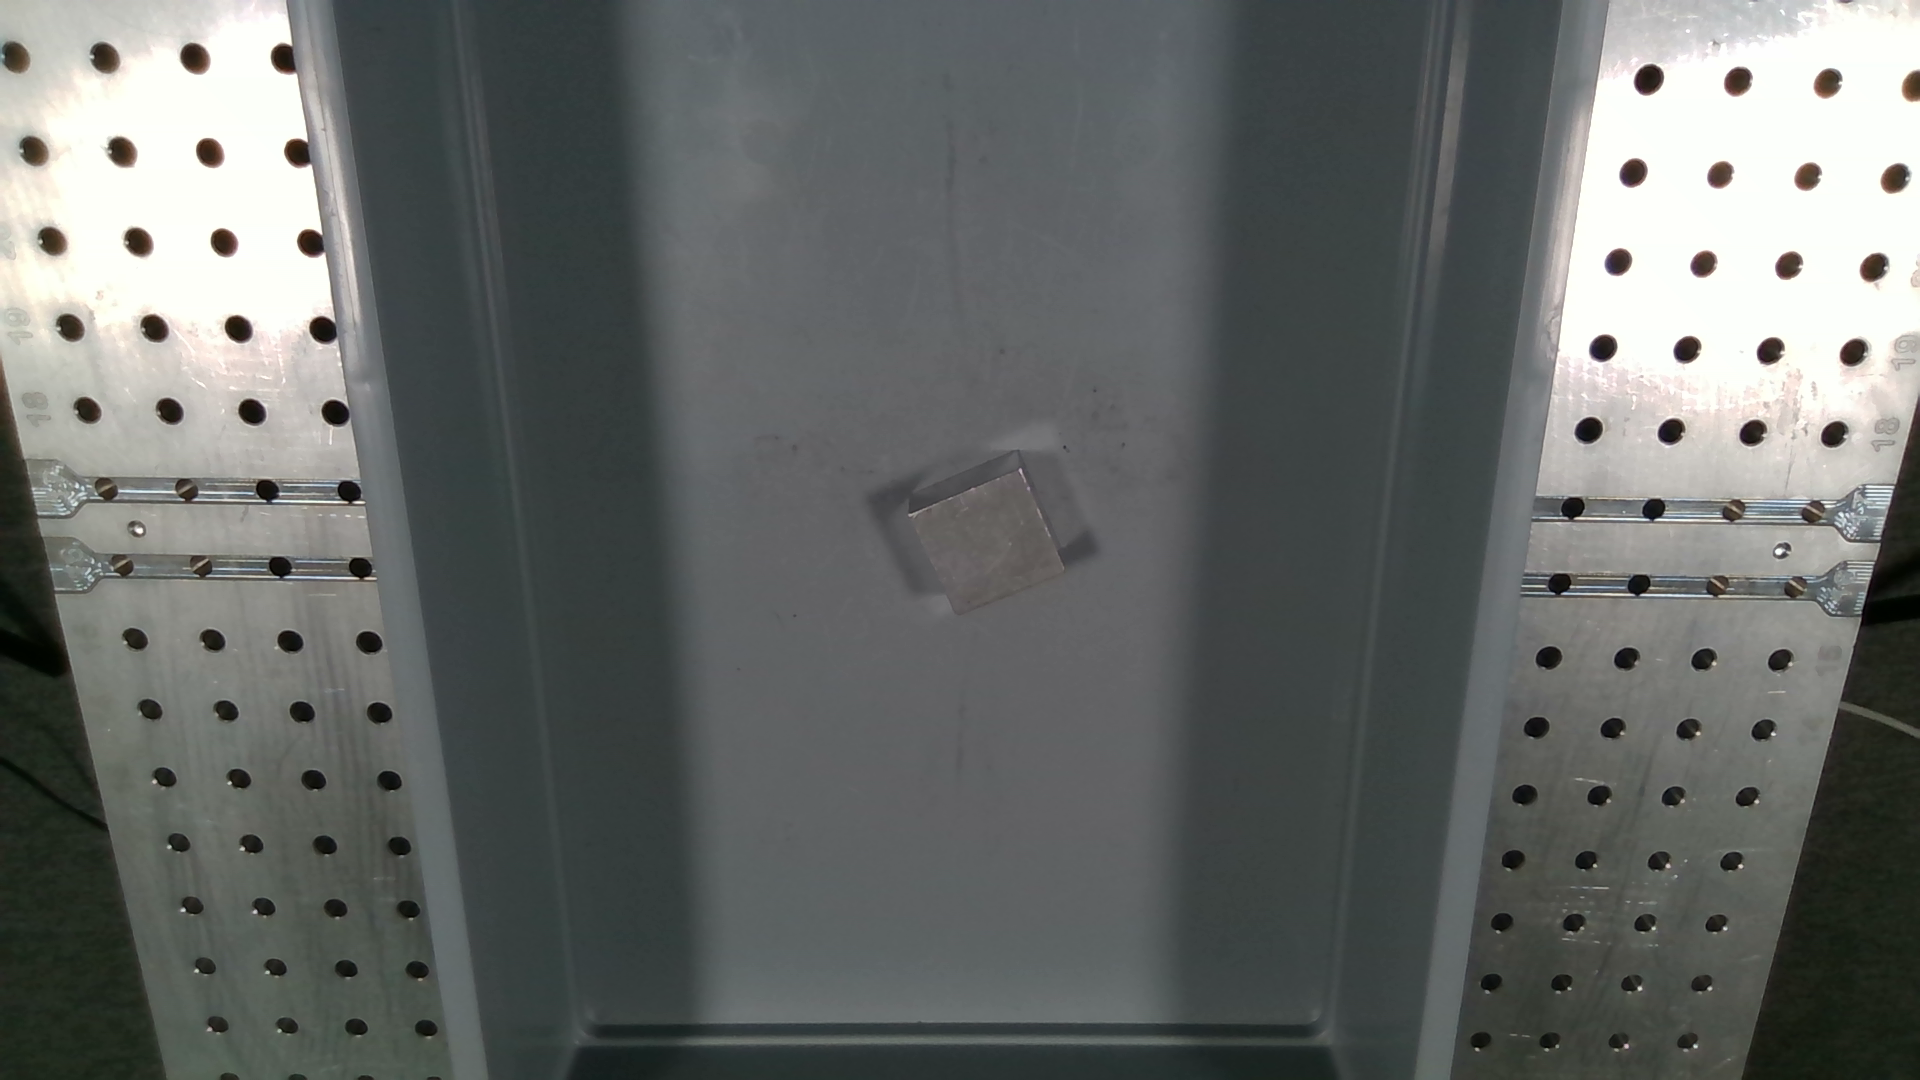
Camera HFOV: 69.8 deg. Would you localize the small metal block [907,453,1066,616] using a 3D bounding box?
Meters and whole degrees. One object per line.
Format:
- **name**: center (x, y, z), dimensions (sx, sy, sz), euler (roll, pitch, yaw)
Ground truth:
- **small metal block**: center (0.011, -0.003, 0.580), dimensions (0.050, 0.025, 0.050), euler (-22, 109, 8)
